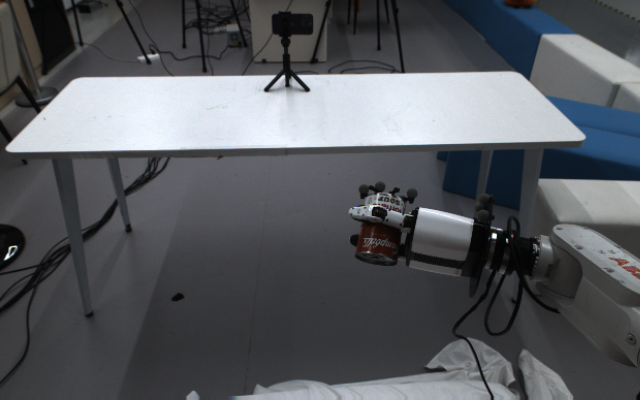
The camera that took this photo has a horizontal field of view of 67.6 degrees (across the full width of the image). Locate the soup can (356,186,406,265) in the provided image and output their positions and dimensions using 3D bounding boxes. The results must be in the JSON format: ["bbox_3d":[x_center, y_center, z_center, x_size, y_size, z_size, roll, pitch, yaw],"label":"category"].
[{"bbox_3d":[0.097,0.046,0.768,0.067,0.067,0.101,9,71,10],"label":"soup can"}]
